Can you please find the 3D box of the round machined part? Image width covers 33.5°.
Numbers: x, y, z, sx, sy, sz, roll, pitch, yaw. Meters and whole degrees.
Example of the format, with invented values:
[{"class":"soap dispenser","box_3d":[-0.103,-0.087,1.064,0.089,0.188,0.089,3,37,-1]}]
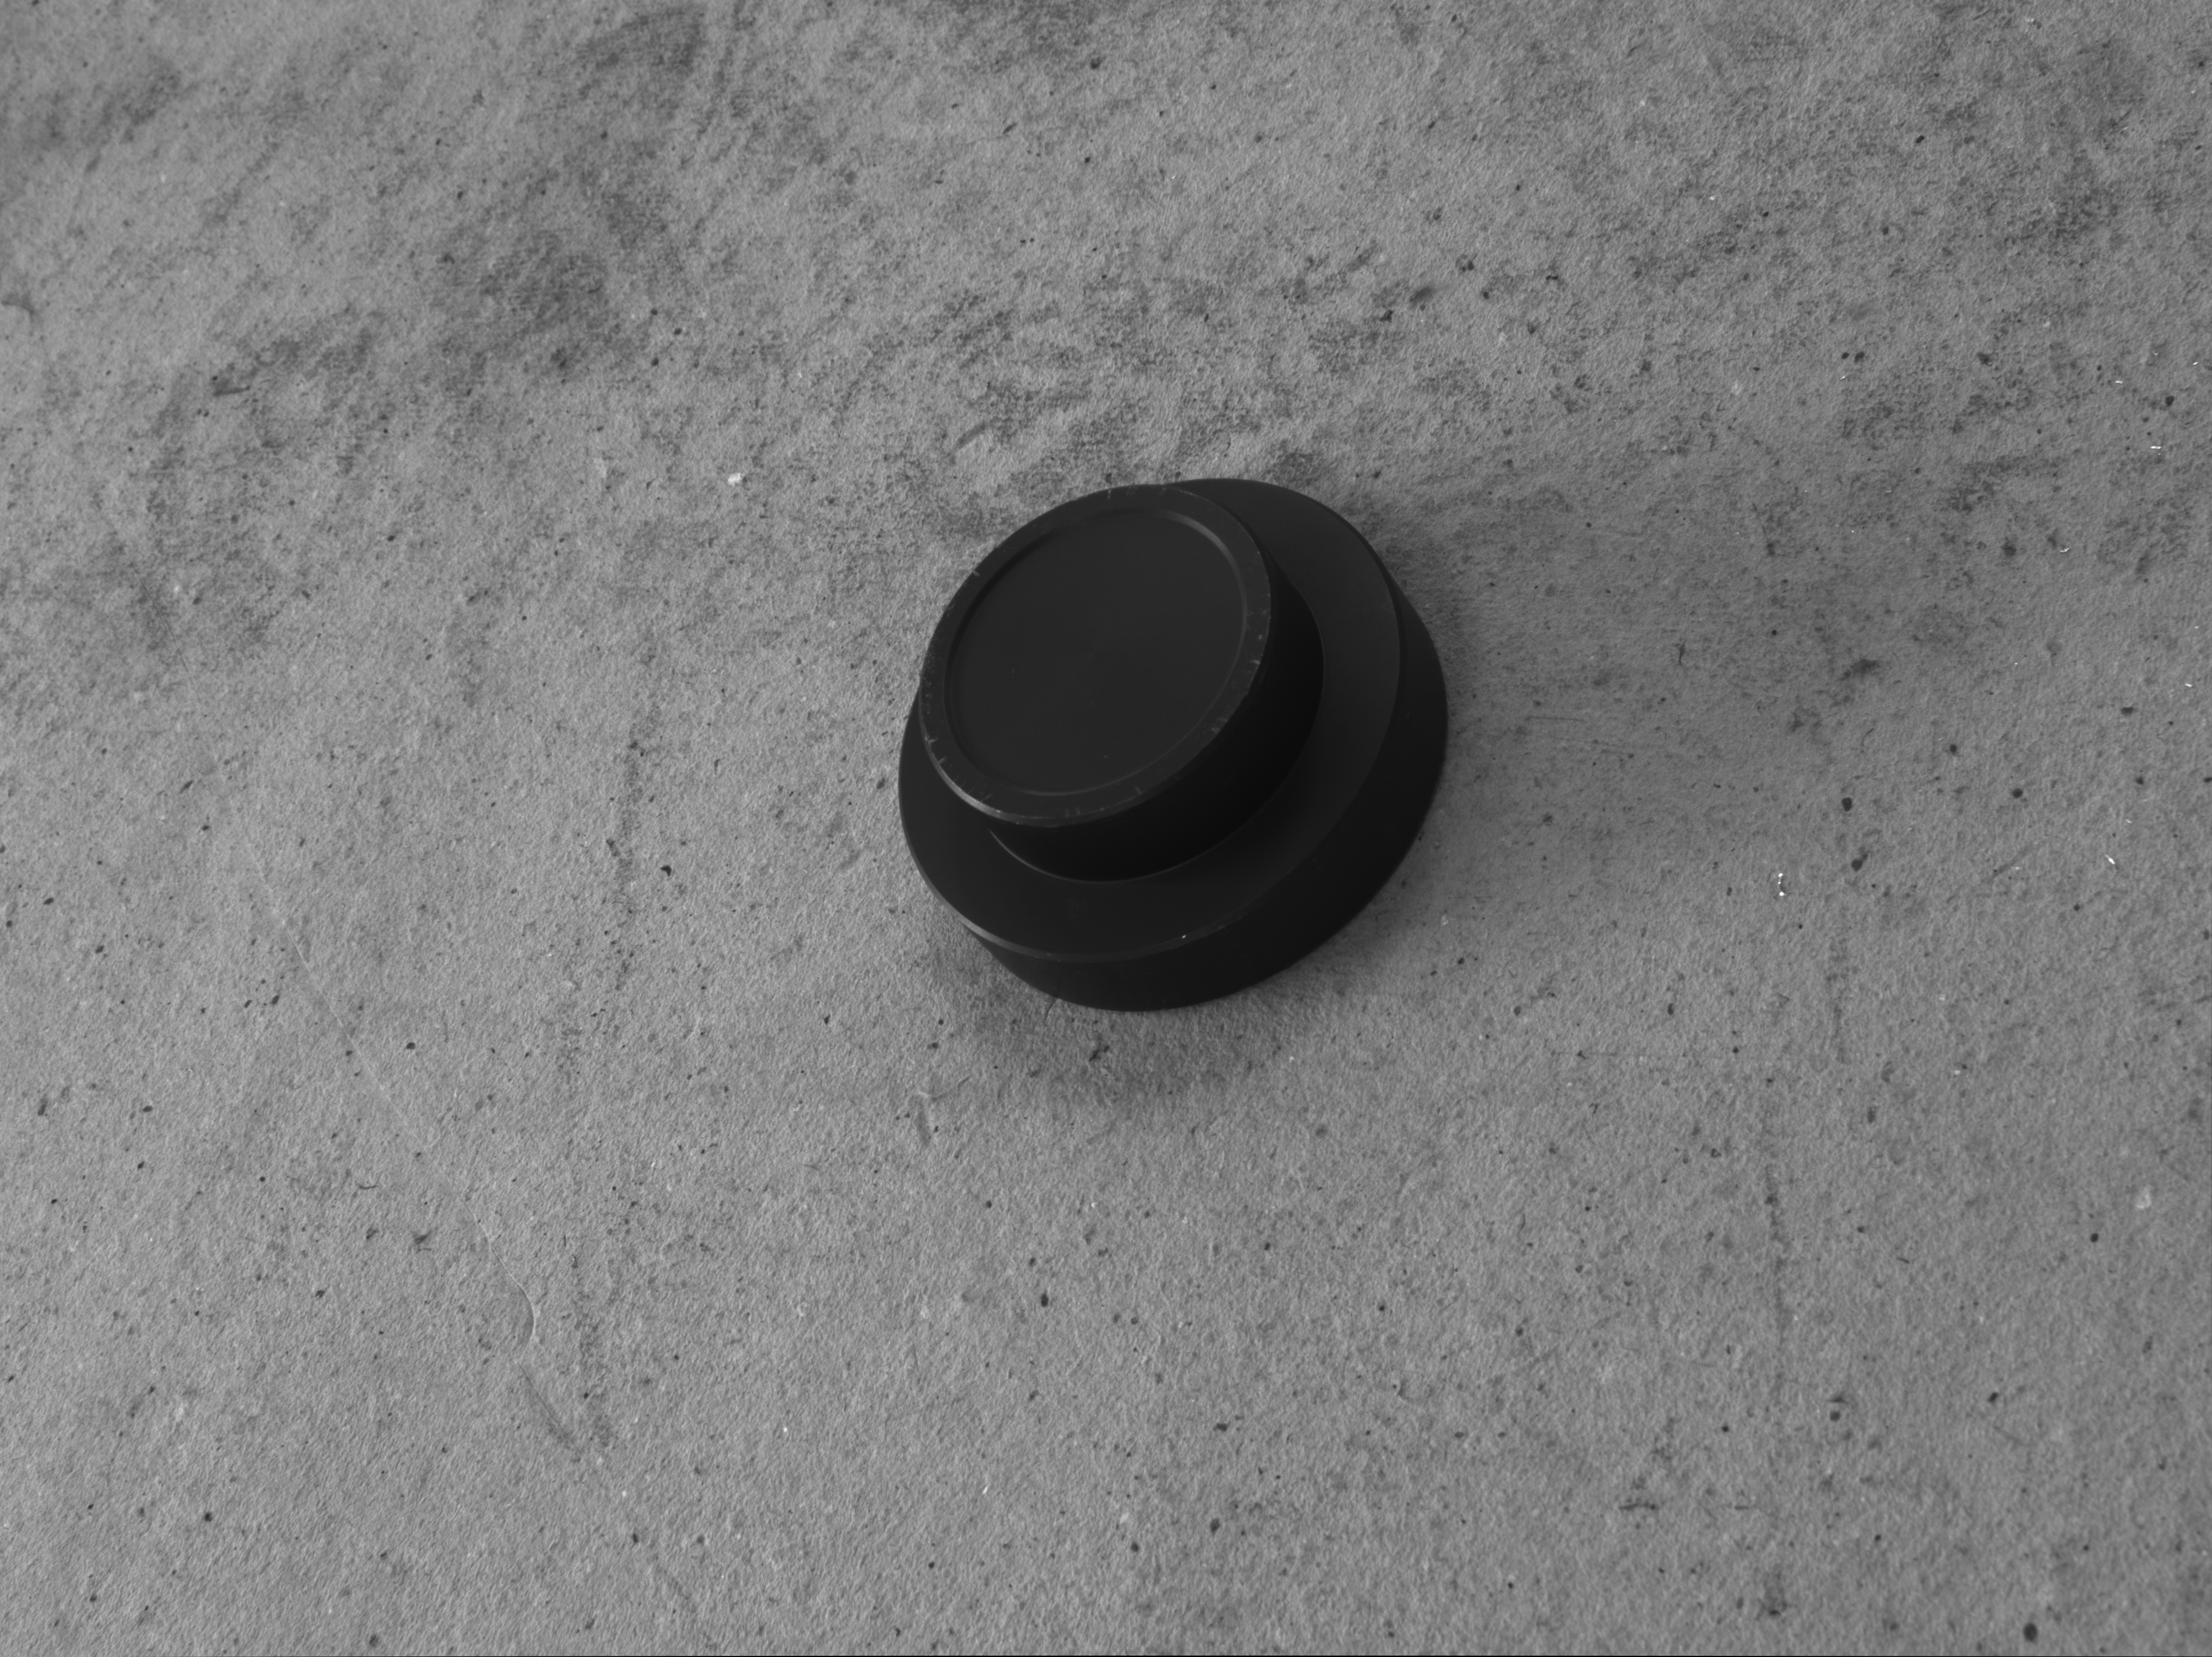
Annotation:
[{"class":"round machined part","box_3d":[0.007,-0.020,0.644,0.098,0.042,0.098,-14,56,21]}]
